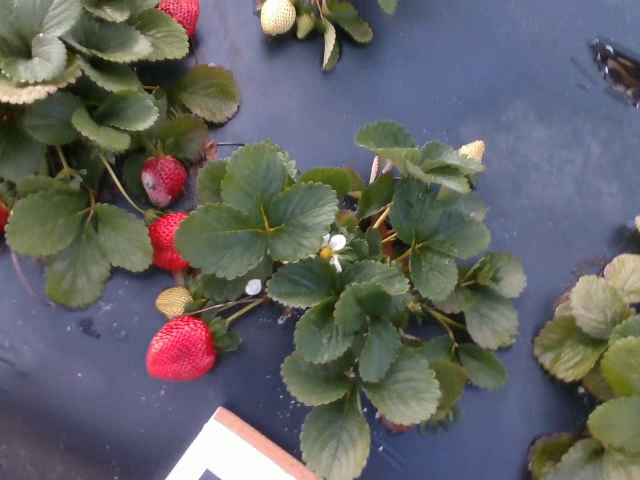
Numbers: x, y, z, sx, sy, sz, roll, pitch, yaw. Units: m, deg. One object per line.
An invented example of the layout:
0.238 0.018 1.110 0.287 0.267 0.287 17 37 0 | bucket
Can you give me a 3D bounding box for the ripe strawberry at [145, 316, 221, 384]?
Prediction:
-0.050 0.041 0.218 0.022 0.025 0.030 29 28 29 | ripe strawberry
